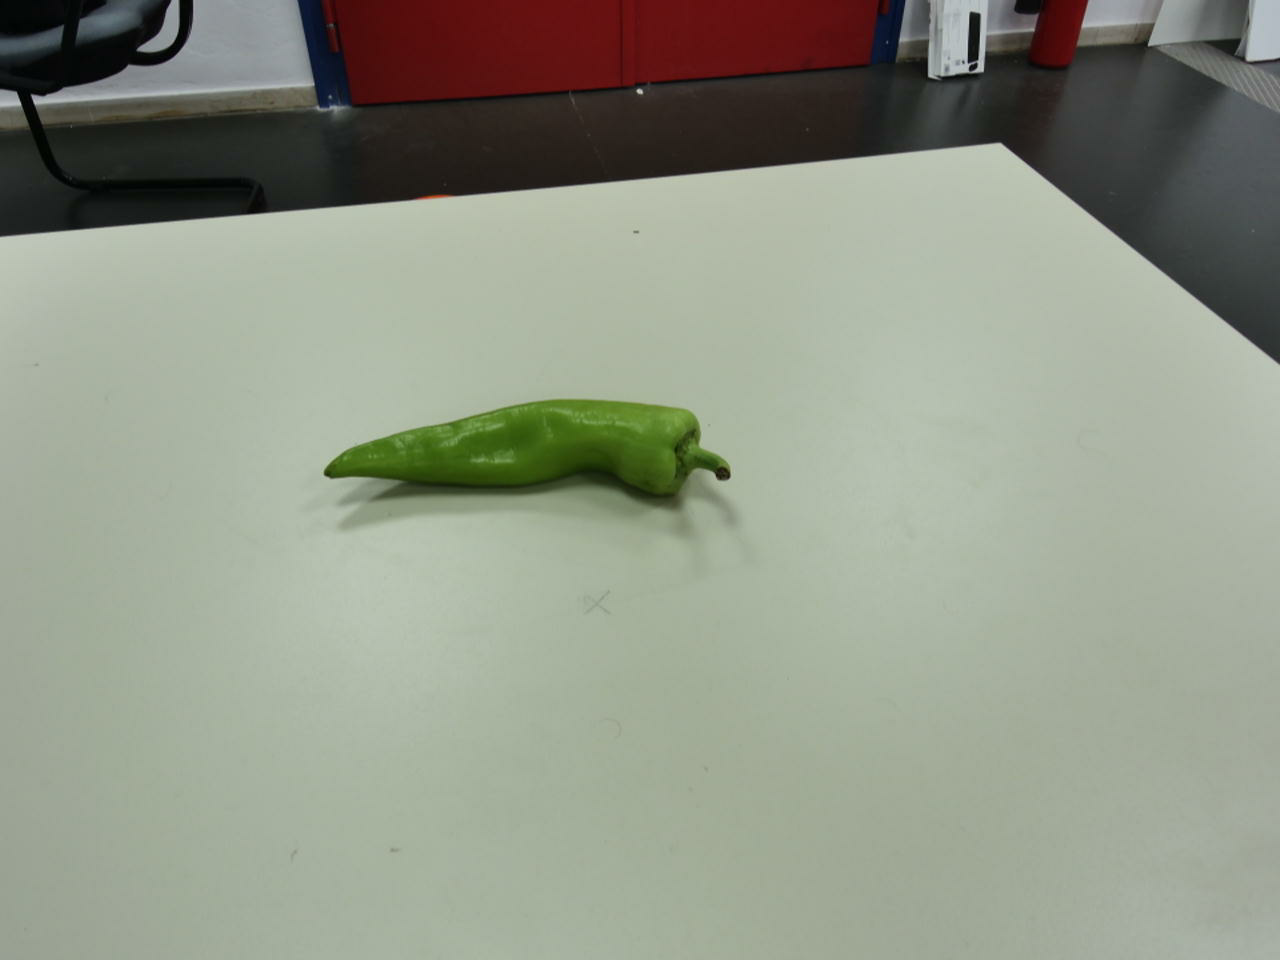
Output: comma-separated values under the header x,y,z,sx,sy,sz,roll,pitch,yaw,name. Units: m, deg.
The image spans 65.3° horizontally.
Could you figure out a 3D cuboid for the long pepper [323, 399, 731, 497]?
x,y,z,sx,sy,sz,roll,pitch,yaw,name
-0.055,-0.018,0.520,0.205,0.045,0.065,3,39,3,long pepper
